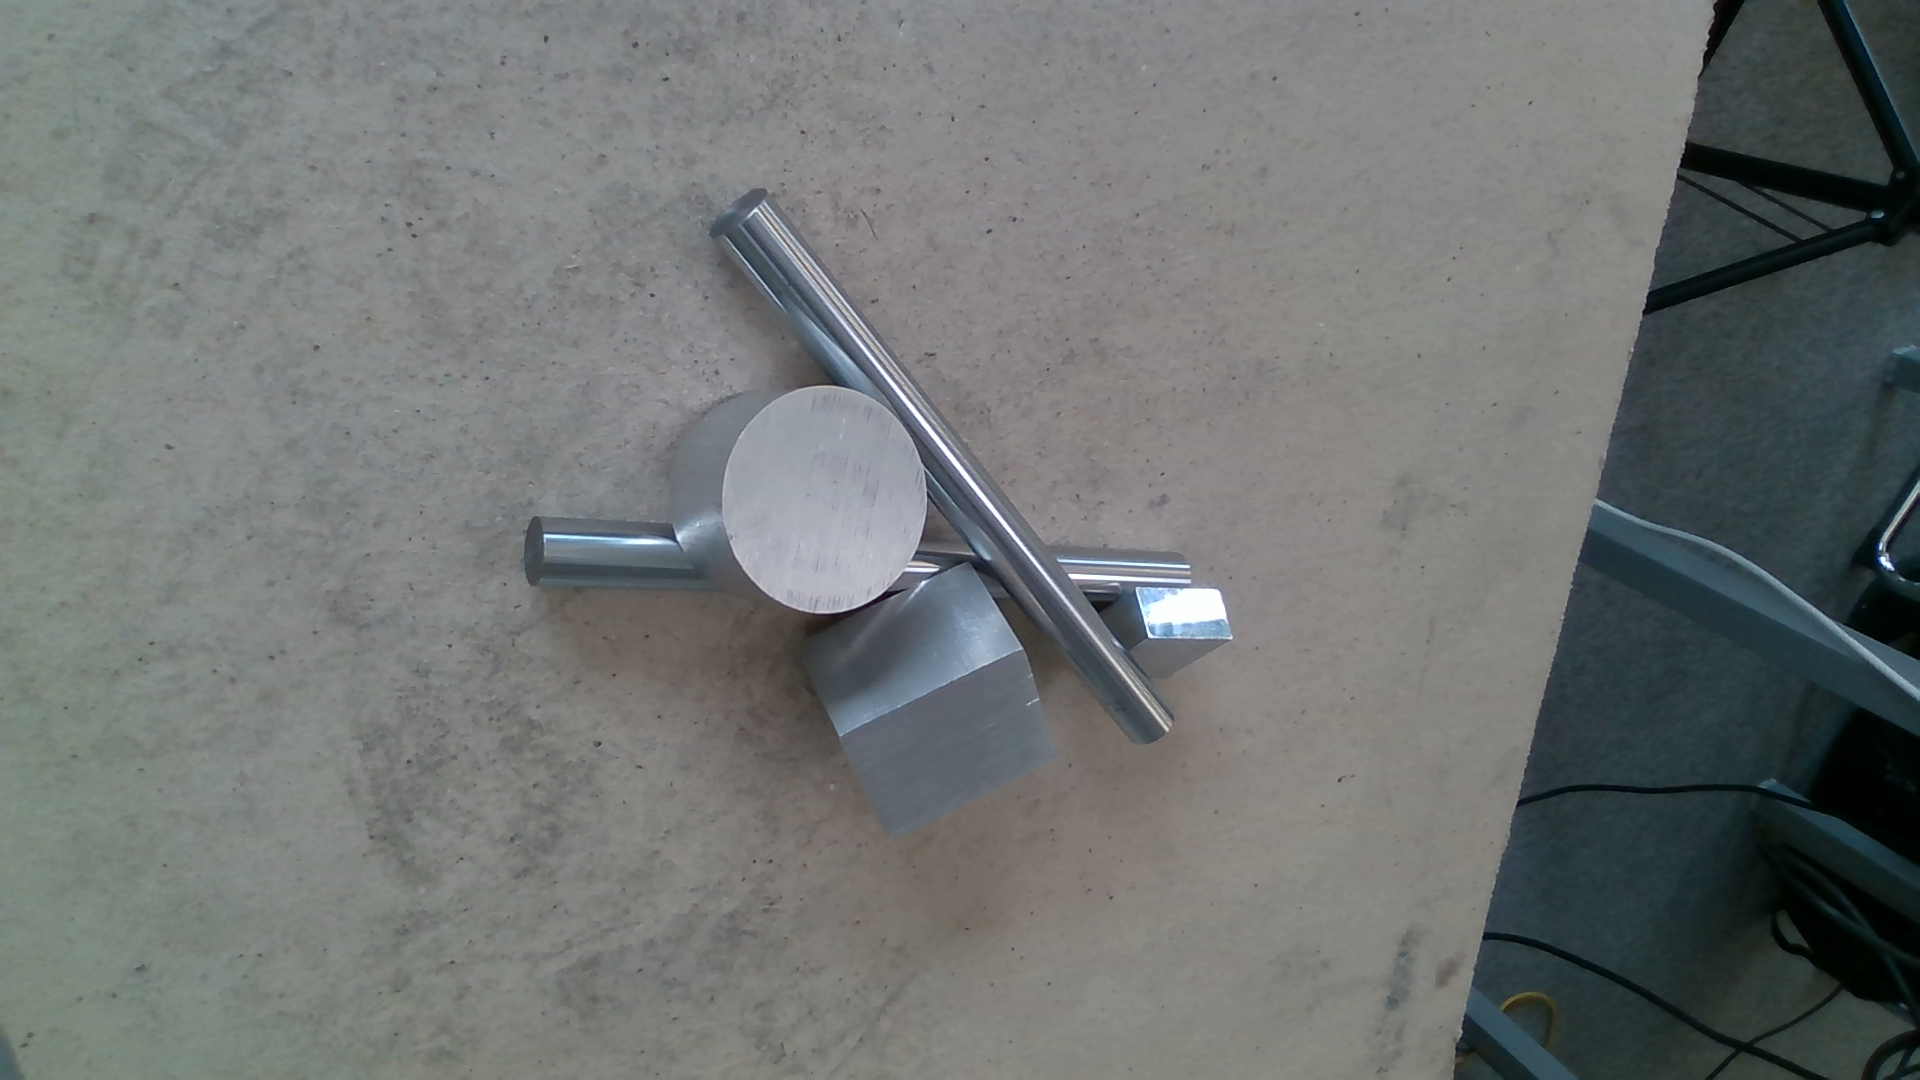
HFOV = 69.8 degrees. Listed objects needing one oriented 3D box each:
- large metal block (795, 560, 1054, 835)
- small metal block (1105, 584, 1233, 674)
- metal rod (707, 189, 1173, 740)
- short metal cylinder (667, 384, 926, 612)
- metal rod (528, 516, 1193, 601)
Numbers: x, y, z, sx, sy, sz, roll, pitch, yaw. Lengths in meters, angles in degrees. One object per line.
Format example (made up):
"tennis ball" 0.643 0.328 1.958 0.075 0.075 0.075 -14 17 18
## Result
"large metal block" -0.013 0.066 0.574 0.080 0.050 0.080 -25 138 -7
"small metal block" 0.089 0.043 0.643 0.050 0.025 0.050 2 153 -33
"metal rod" 0.005 -0.015 0.554 0.025 0.025 0.301 -43 122 -5
"short metal cylinder" -0.060 -0.016 0.504 0.080 0.050 0.080 -3 95 -33
"metal rod" -0.024 0.011 0.571 0.300 0.025 0.025 3 113 -33
